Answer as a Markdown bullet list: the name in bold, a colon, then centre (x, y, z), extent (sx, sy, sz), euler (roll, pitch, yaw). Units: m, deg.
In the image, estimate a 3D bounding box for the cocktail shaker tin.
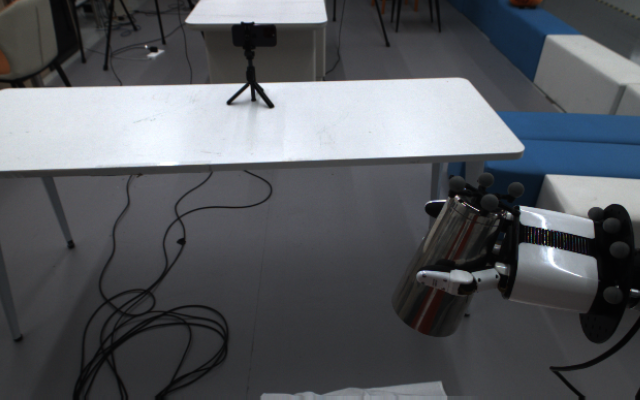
- **cocktail shaker tin**: centre (0.161, 0.069, 0.588), extent (0.093, 0.170, 0.093), euler (12, 29, -7)
